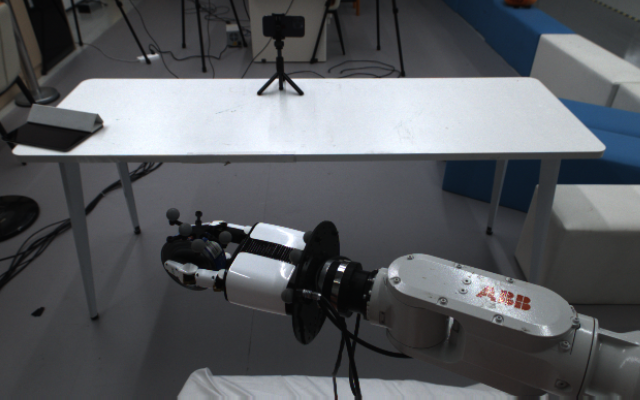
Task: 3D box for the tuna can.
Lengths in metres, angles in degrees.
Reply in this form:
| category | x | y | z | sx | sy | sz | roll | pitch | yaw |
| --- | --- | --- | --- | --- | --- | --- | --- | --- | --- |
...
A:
| category | x | y | z | sx | sy | sz | roll | pitch | yaw |
| --- | --- | --- | --- | --- | --- | --- | --- | --- | --- |
| tuna can | -0.173 | 0.084 | 0.674 | 0.085 | 0.085 | 0.034 | 13 | 29 | 15 |
